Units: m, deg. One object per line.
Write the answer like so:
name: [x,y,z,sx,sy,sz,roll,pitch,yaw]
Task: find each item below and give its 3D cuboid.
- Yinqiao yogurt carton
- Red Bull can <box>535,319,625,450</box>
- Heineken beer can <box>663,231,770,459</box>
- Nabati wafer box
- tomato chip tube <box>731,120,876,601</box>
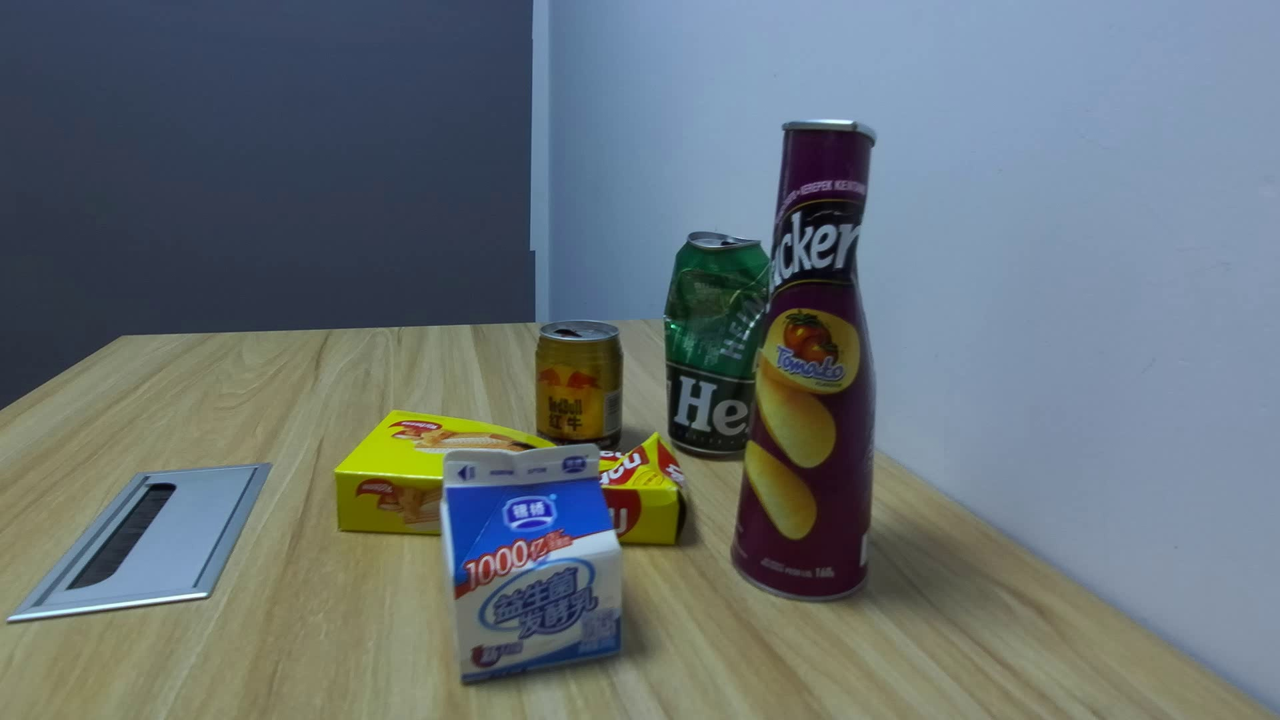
Yinqiao yogurt carton: [-0.051,0.082,0.331,0.076,0.092,0.073,-4,20,-15]
Red Bull can: [-0.047,0.023,0.539,0.067,0.093,0.067,2,15,0]
Heineken beer can: [0.058,-0.008,0.550,0.066,0.164,0.077,0,12,-15]
Nabati wafer box: [-0.073,0.073,0.454,0.204,0.042,0.107,3,17,1]
tomato chip tube: [0.094,0.002,0.366,0.078,0.235,0.076,-9,19,-35]
